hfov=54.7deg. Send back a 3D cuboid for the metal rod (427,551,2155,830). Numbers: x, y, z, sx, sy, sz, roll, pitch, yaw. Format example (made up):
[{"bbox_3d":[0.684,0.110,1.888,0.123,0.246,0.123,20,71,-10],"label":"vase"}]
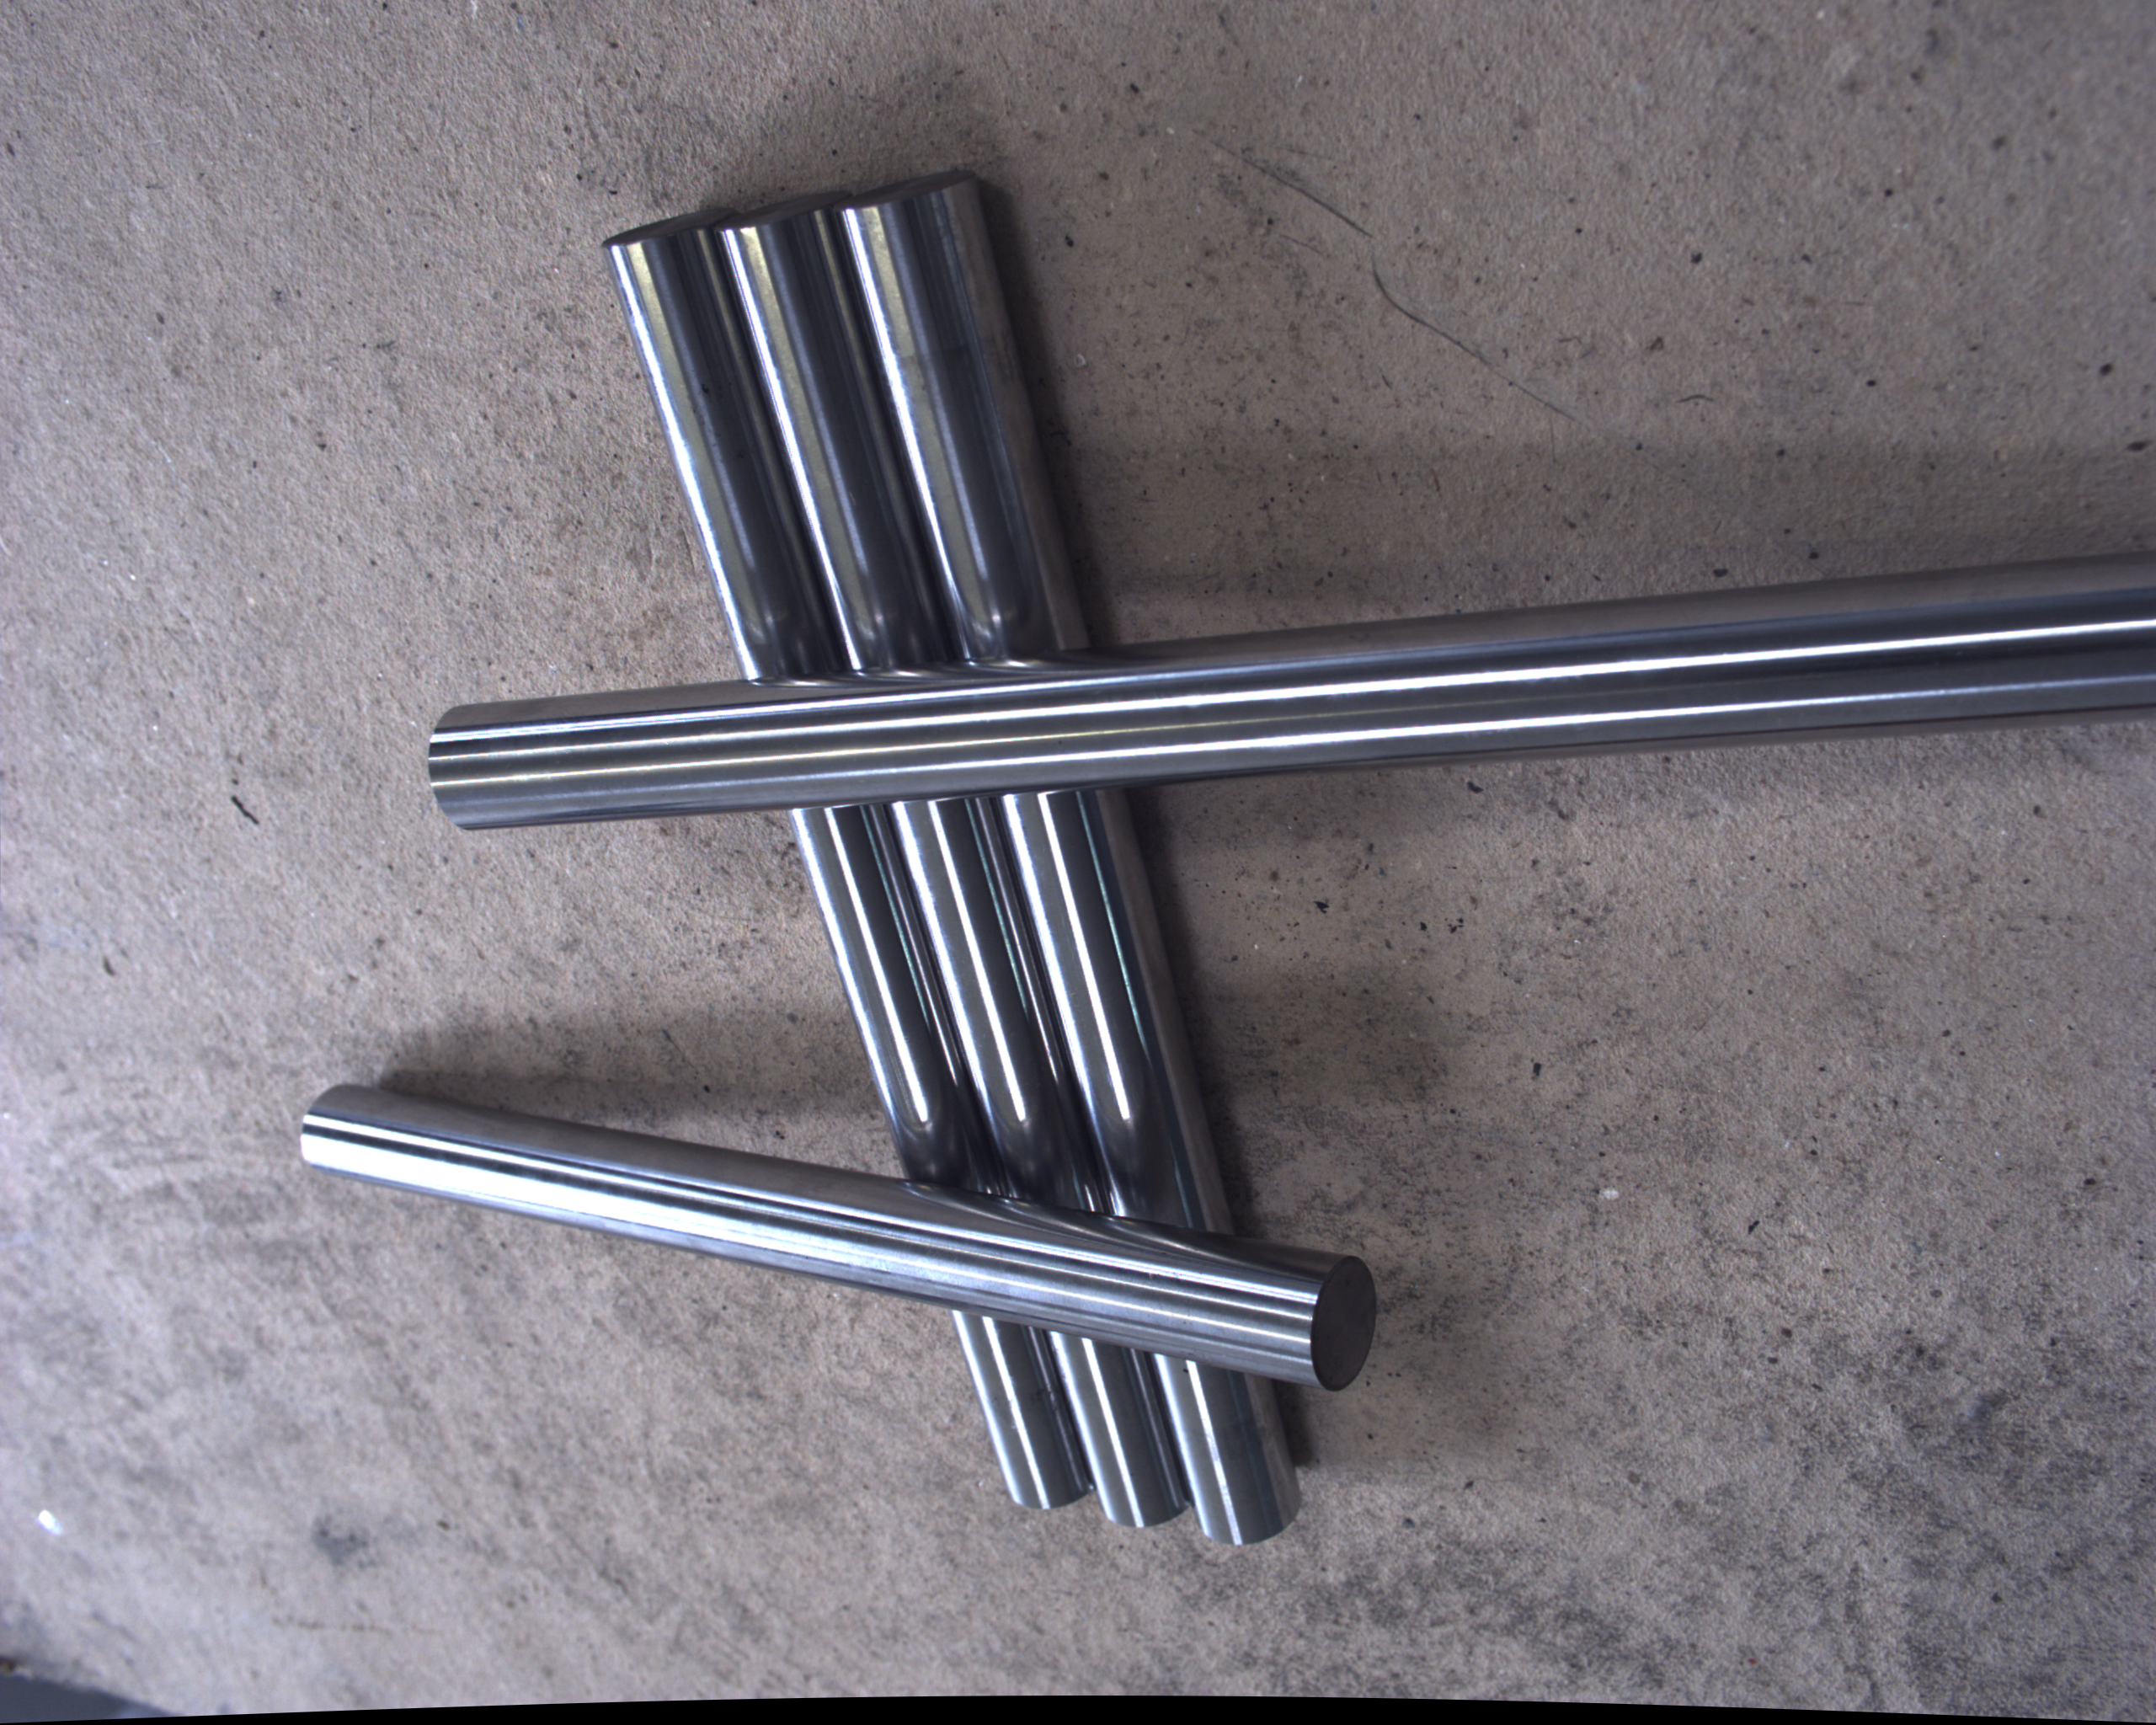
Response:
[{"bbox_3d":[0.021,-0.026,0.356,0.301,0.025,0.025,-3,117,21],"label":"metal rod"}]

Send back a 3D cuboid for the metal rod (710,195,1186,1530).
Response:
[{"bbox_3d":[-0.018,0.017,0.428,0.025,0.025,0.298,0,119,28],"label":"metal rod"}]

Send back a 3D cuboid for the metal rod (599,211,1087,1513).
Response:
[{"bbox_3d":[-0.040,0.016,0.439,0.025,0.025,0.298,0,119,28],"label":"metal rod"}]

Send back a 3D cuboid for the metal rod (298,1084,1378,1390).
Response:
[{"bbox_3d":[-0.074,0.078,0.471,0.300,0.025,0.025,3,120,35],"label":"metal rod"}]

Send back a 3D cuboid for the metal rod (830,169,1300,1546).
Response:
[{"bbox_3d":[0.004,0.017,0.416,0.025,0.025,0.298,0,119,28],"label":"metal rod"}]
